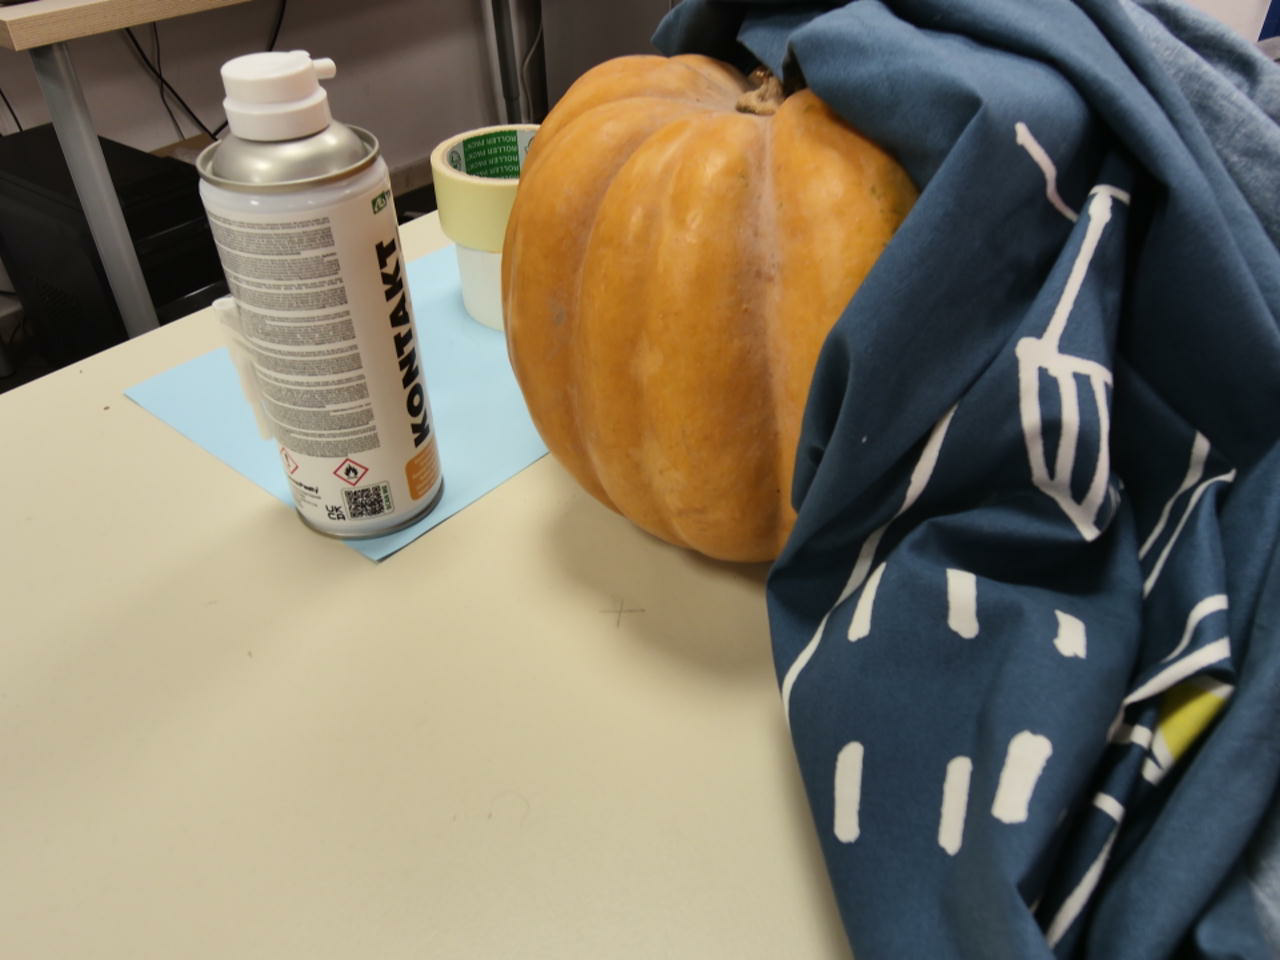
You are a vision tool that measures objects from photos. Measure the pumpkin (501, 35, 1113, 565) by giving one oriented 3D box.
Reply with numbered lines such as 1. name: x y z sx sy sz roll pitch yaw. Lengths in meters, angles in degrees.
1. pumpkin: 0.059 -0.071 0.393 0.230 0.194 0.230 0 36 0
